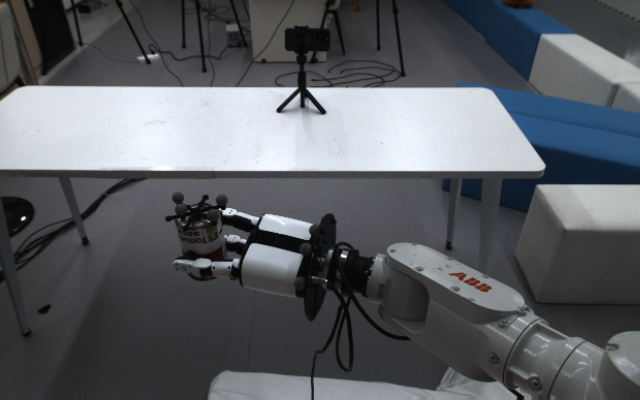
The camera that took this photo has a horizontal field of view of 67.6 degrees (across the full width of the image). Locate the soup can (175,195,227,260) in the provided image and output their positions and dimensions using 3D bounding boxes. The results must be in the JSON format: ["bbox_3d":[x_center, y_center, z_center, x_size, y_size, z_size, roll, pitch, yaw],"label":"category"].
[{"bbox_3d":[-0.179,0.066,0.742,0.067,0.101,0.067,-2,33,1],"label":"soup can"}]
